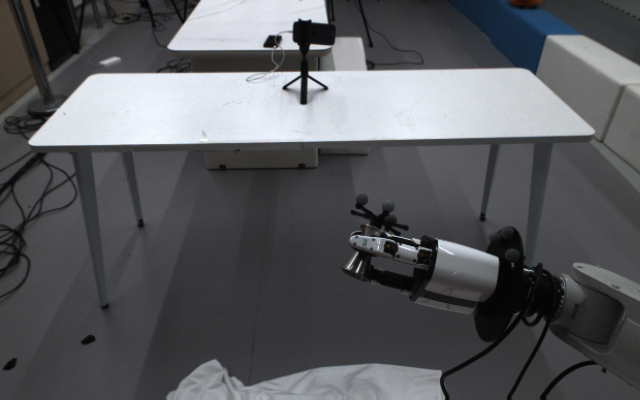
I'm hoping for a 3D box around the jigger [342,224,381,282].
[{"bbox_3d":[0.059,0.069,0.655,0.043,0.043,0.071,19,72,23],"label":"jigger"}]
